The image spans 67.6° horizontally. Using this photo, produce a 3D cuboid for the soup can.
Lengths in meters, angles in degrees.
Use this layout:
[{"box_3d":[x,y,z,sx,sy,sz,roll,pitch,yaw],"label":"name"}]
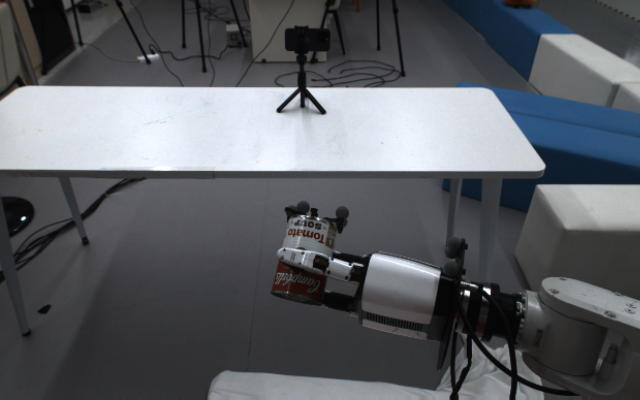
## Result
[{"box_3d":[-0.017,0.077,0.620,0.067,0.067,0.101,9,72,10],"label":"soup can"}]
